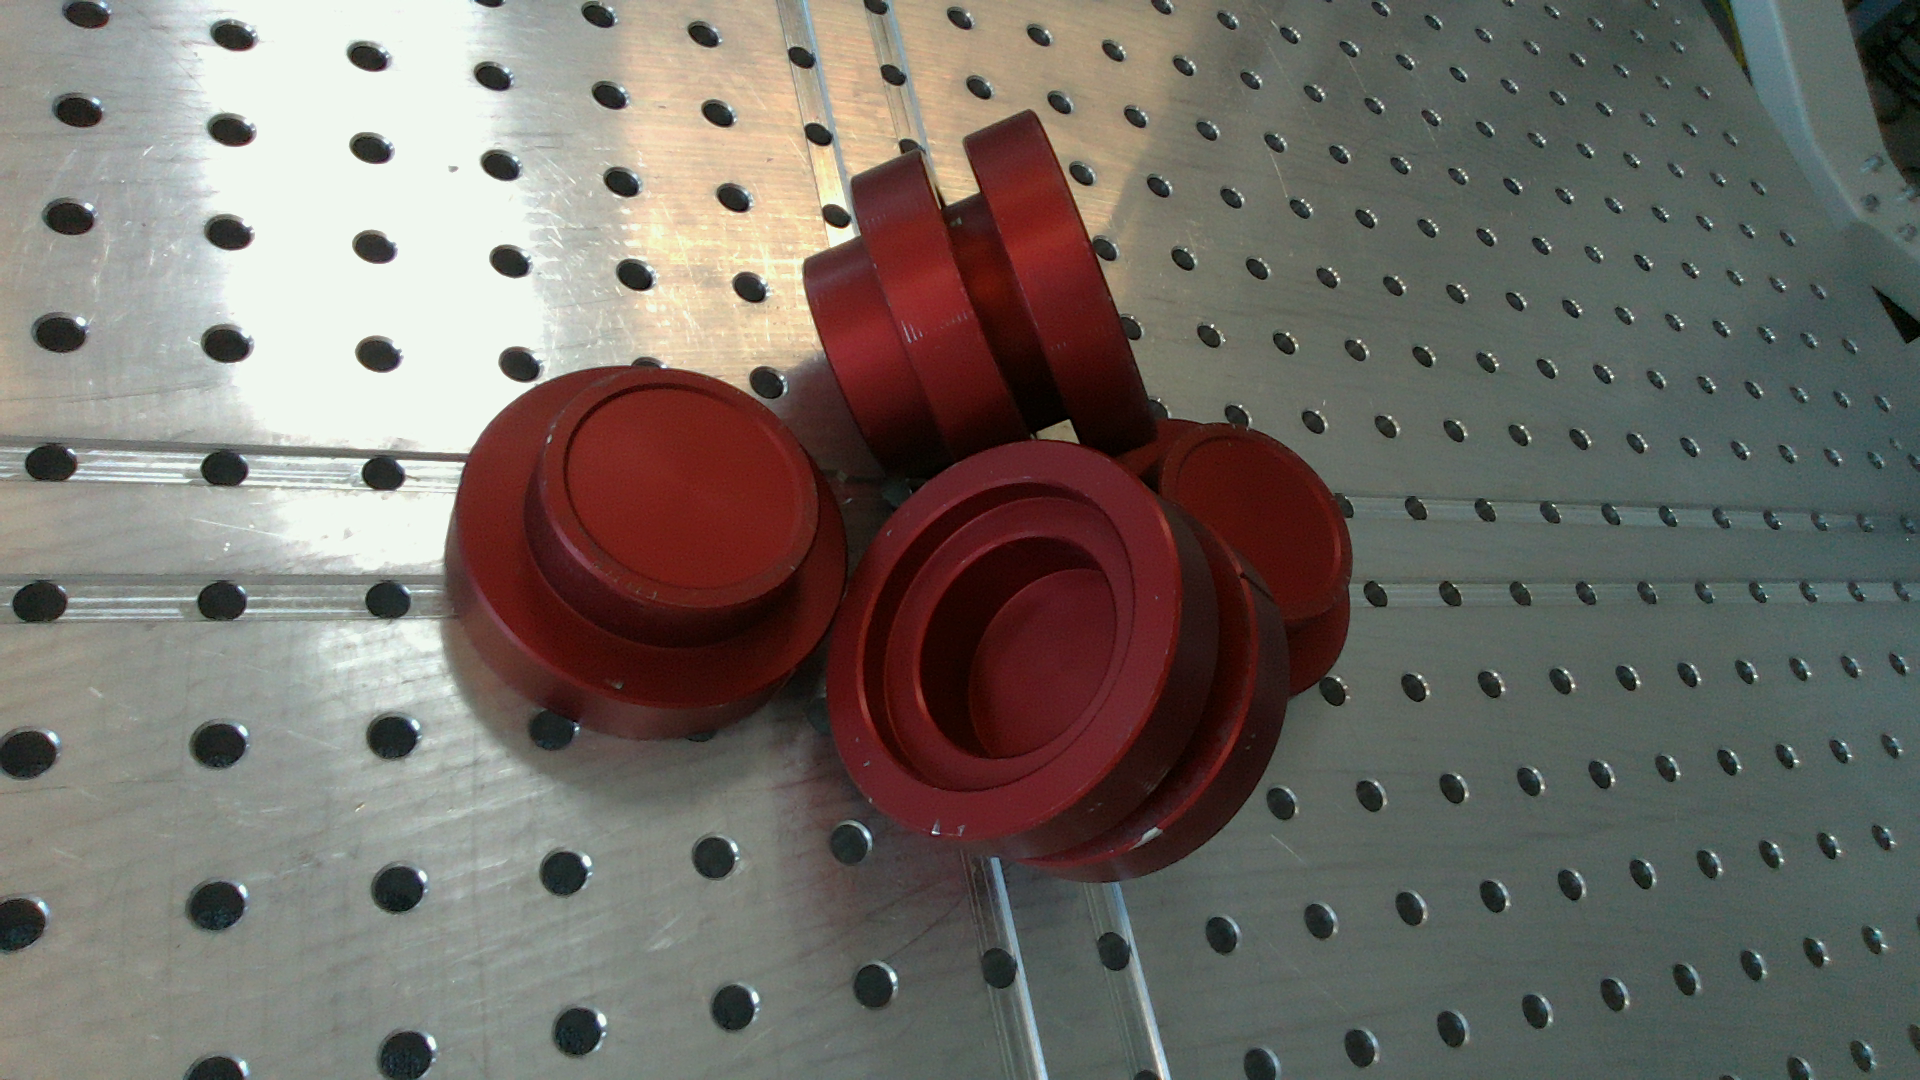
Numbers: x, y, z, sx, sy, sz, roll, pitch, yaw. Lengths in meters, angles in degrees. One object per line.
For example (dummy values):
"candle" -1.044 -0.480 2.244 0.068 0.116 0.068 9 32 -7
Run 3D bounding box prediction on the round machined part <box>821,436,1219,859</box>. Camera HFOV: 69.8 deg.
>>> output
"round machined part" 0.017 0.028 0.332 0.042 0.098 0.098 34 42 -48

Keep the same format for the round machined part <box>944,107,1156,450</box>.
"round machined part" 0.018 -0.067 0.388 0.042 0.098 0.098 -22 68 6

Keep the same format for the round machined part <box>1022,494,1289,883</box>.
"round machined part" 0.039 0.039 0.354 0.042 0.098 0.098 35 42 -48

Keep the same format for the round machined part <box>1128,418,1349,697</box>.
"round machined part" 0.079 0.003 0.422 0.098 0.042 0.098 14 56 -21

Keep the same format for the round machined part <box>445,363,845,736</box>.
"round machined part" -0.075 -0.004 0.343 0.098 0.042 0.098 14 56 -21

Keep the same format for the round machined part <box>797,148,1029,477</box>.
"round machined part" -0.013 -0.056 0.388 0.042 0.098 0.098 -22 68 6
